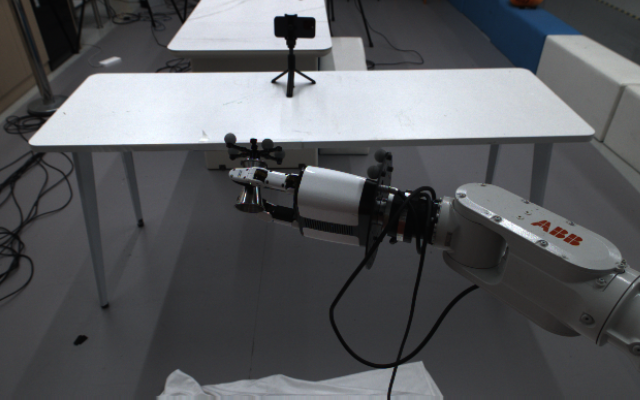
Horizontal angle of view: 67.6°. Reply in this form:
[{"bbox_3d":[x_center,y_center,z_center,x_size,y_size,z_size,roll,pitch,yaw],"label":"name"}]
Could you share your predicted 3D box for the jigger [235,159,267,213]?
[{"bbox_3d":[-0.098,-0.021,0.686,0.043,0.043,0.071,3,72,1],"label":"jigger"}]
